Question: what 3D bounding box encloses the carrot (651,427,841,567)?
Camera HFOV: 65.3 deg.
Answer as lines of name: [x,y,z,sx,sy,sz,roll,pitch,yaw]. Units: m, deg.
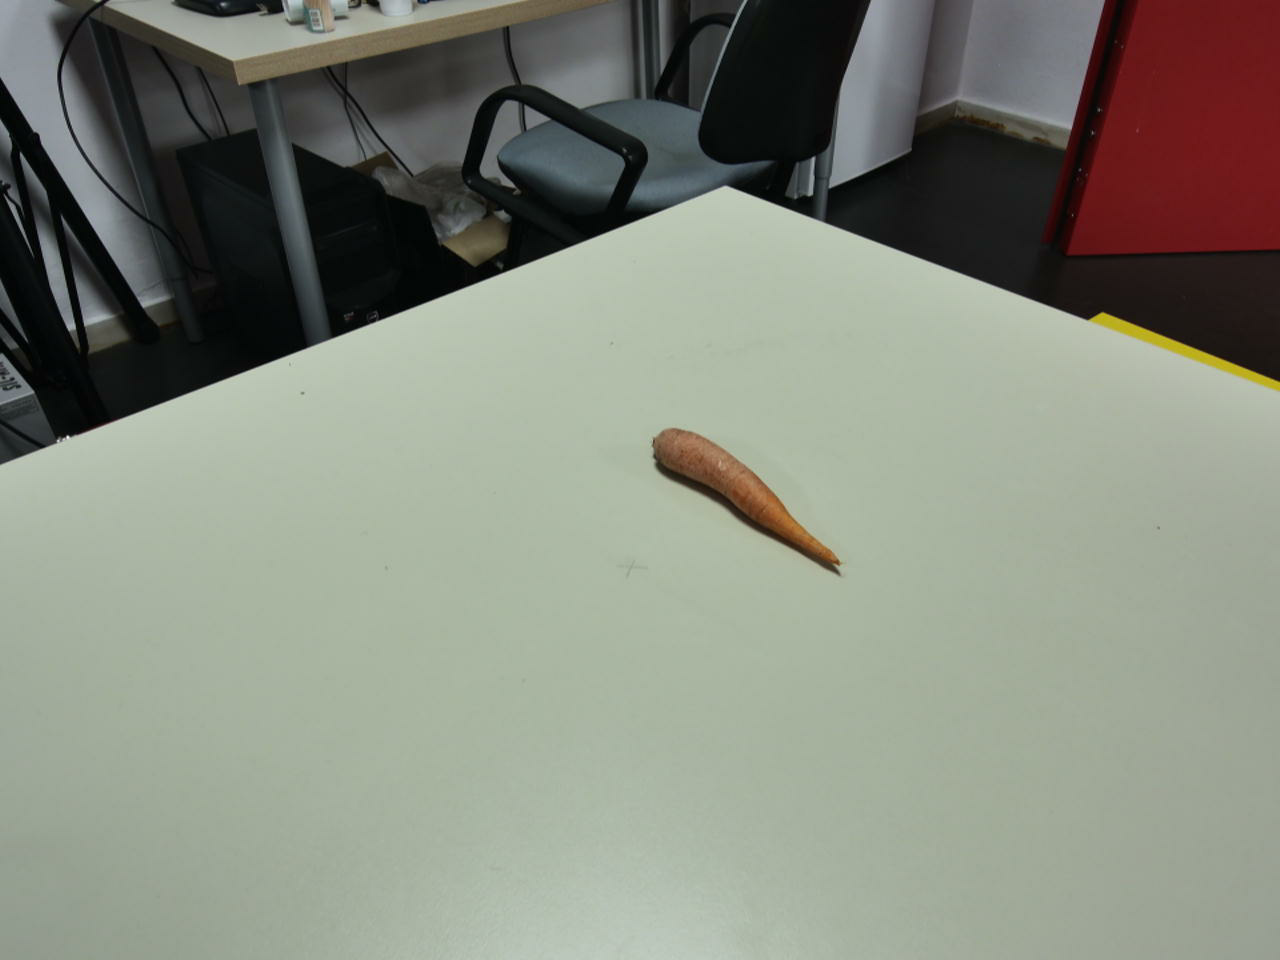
carrot: [0.066,0.006,0.628,0.031,0.029,0.163,-27,45,-32]
